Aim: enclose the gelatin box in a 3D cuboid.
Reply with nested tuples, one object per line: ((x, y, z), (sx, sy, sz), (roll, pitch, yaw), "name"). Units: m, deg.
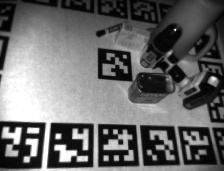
((0.075, -0.148, 0.644), (0.090, 0.073, 0.030), (14, 69, -12), "gelatin box")

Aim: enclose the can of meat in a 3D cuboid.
((0.109, 0.002, 0.584), (0.102, 0.083, 0.057), (2, 66, -15), "can of meat")

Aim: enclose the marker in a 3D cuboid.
((0.015, -0.193, 0.671), (0.122, 0.019, 0.019), (-23, 77, -22), "marker")

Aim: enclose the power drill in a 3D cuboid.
((0.184, -0.071, 0.584), (0.187, 0.183, 0.057), (38, 66, -5), "power drill")

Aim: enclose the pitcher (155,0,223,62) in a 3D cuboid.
((0.233, -0.172, 0.613), (0.188, 0.242, 0.133), (31, 67, 6), "pitcher")
